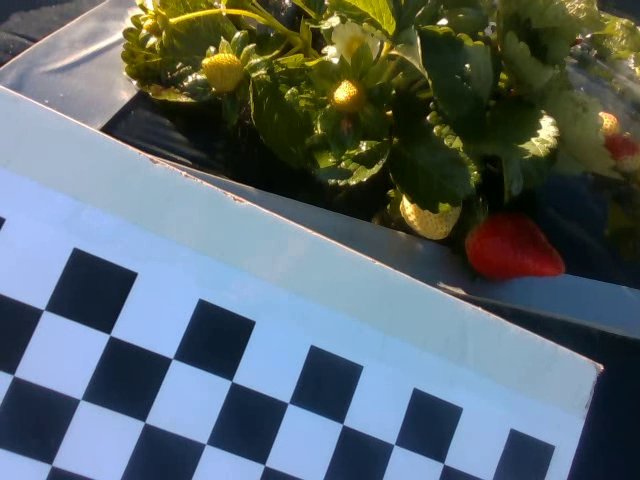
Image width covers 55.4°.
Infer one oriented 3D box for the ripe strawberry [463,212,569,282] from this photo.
[{"bbox_3d":[0.104,0.006,0.323,0.045,0.049,0.063,-43,36,-12],"label":"ripe strawberry"}]
